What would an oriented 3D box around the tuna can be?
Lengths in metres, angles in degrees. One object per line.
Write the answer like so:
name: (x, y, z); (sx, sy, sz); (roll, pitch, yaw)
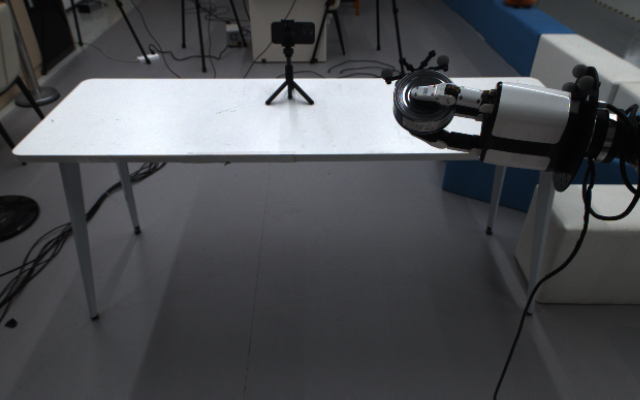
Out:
tuna can: (0.145, -0.138, 0.664); (0.085, 0.034, 0.085); (-4, 68, 9)
